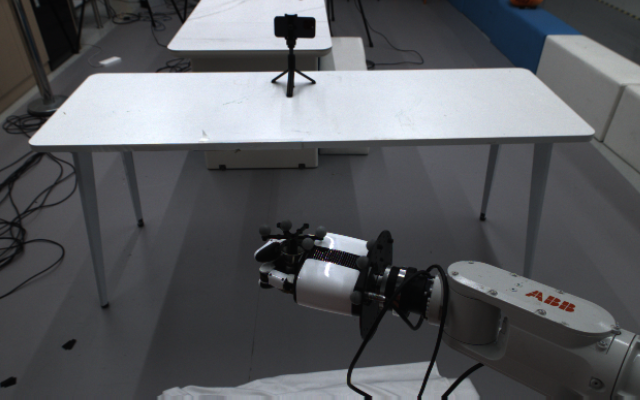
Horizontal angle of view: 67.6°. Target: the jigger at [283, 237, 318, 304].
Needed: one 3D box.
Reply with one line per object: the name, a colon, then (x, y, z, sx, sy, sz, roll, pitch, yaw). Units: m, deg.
jigger: (-0.038, 0.099, 0.726, 0.043, 0.071, 0.043, 3, 25, -1)
